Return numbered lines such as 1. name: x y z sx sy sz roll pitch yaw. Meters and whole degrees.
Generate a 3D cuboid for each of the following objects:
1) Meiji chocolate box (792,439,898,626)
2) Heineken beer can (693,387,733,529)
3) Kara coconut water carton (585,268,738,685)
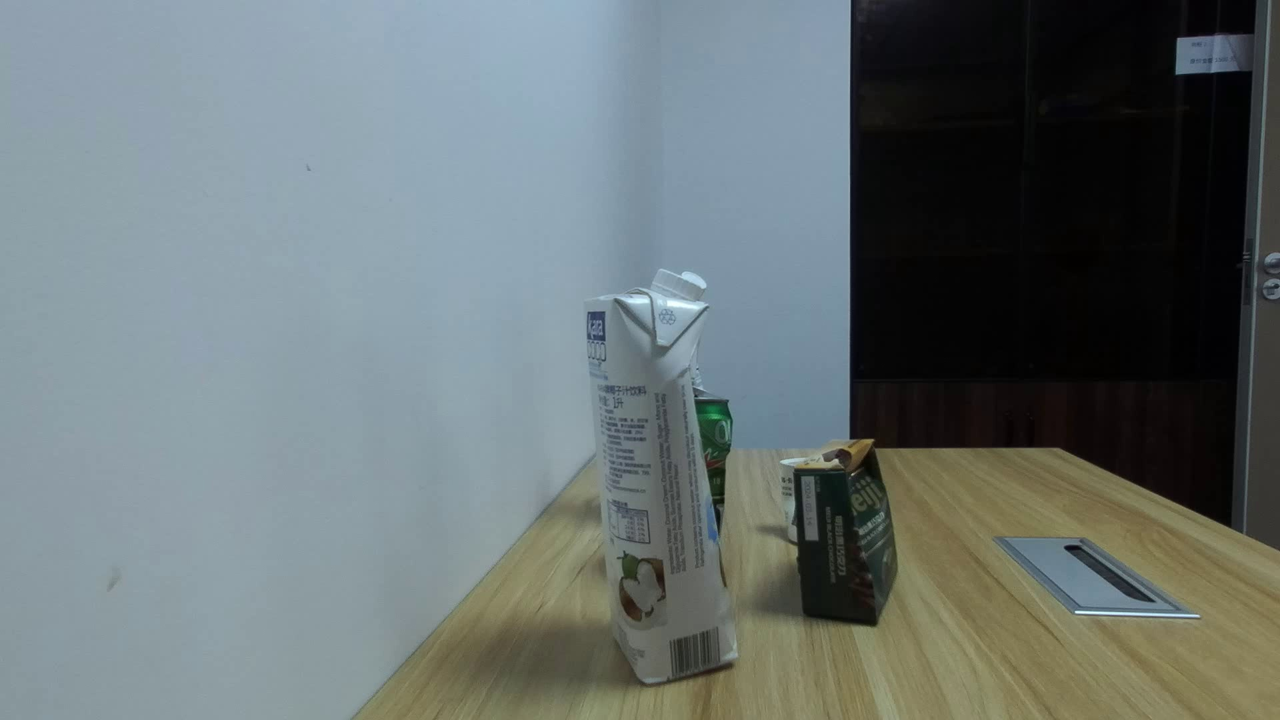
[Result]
1. Meiji chocolate box: 0.155 0.126 0.541 0.058 0.110 0.113 -5 2 20
2. Heineken beer can: 0.034 0.103 0.588 0.078 0.159 0.067 6 2 9
3. Kara coconut water carton: 0.014 0.067 0.447 0.071 0.244 0.099 -6 9 -15
